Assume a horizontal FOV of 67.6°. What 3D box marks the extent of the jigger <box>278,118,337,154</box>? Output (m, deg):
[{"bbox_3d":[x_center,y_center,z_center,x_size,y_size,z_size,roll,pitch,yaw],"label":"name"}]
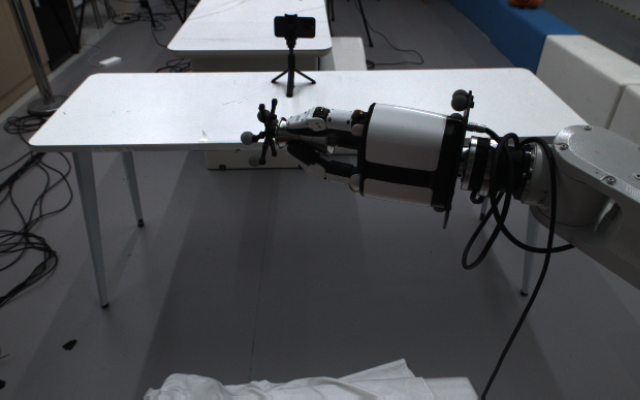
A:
[{"bbox_3d":[-0.011,-0.084,0.605,0.071,0.043,0.043,10,35,16],"label":"jigger"}]
